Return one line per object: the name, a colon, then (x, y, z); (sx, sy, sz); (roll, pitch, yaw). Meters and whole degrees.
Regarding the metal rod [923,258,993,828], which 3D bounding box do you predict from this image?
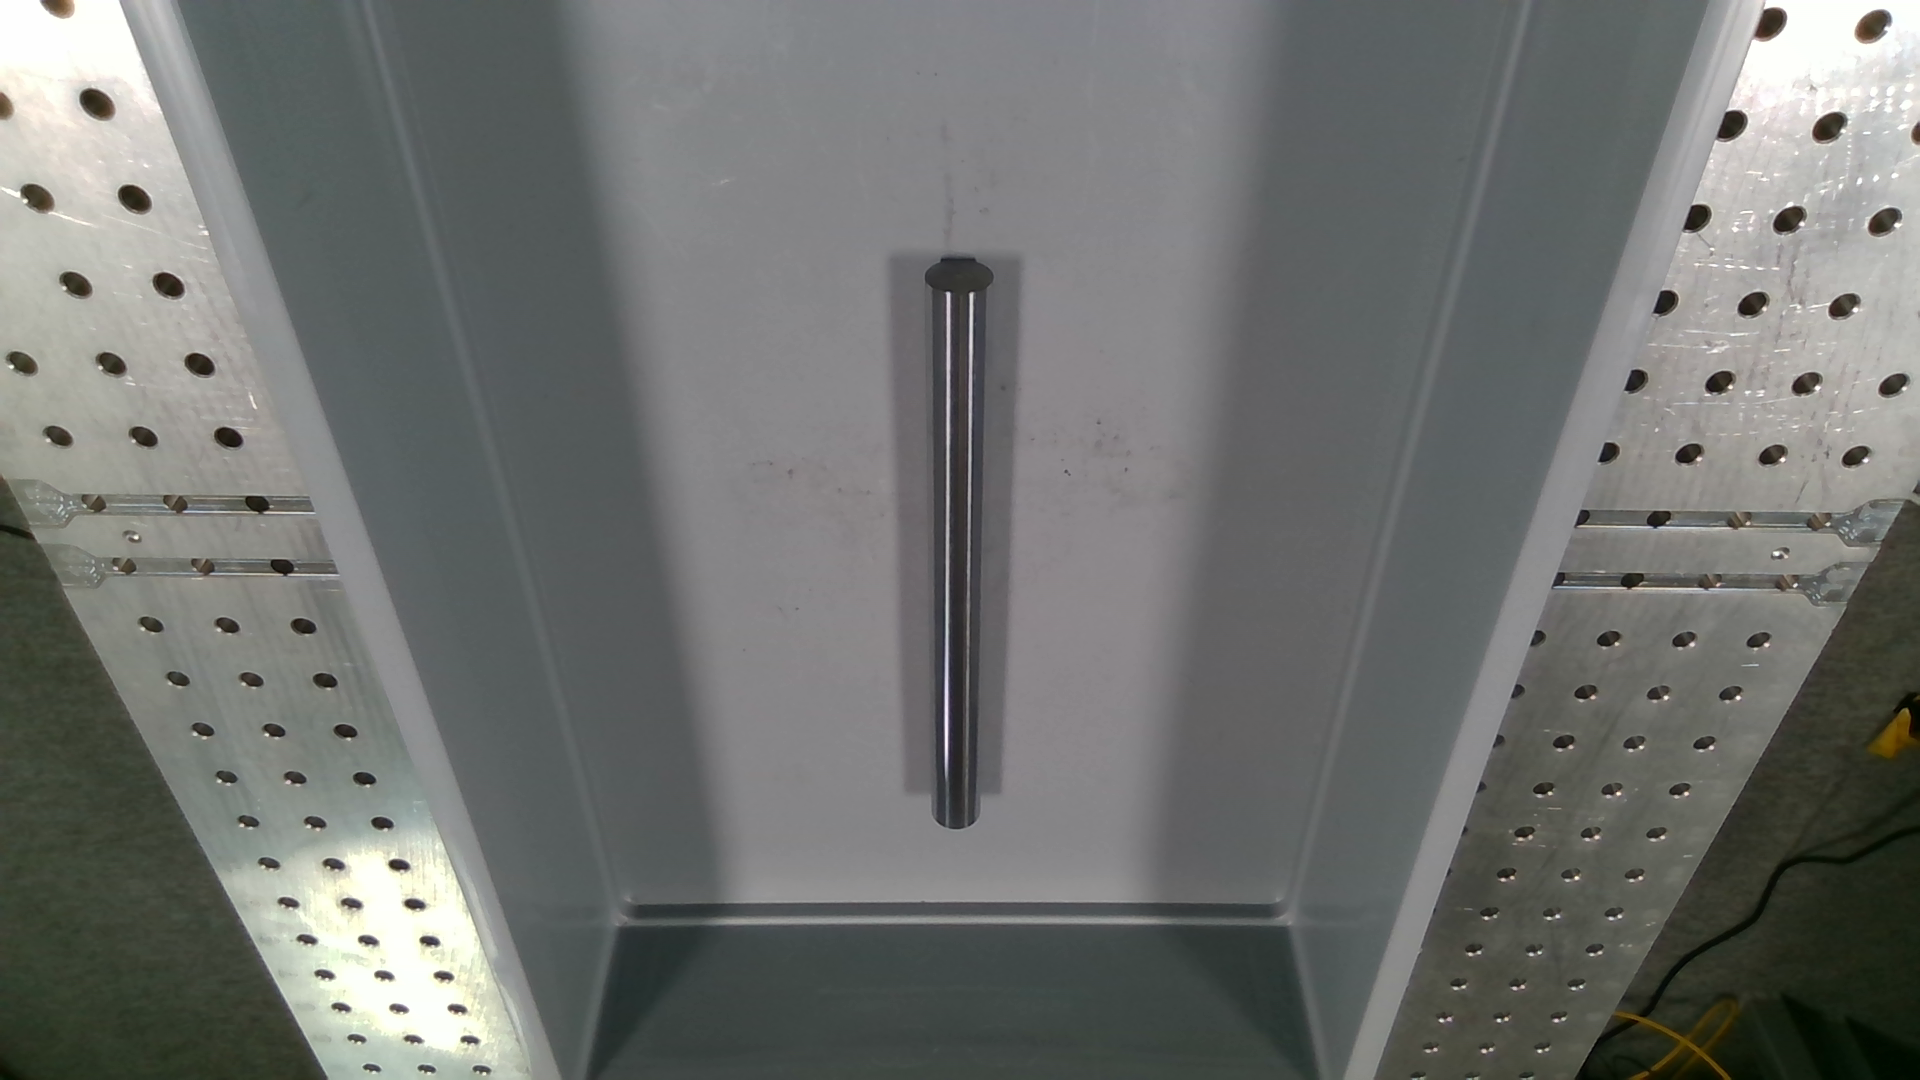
metal rod: (-0.001, 0.020, 0.593); (0.025, 0.025, 0.301); (0, 130, 0)
